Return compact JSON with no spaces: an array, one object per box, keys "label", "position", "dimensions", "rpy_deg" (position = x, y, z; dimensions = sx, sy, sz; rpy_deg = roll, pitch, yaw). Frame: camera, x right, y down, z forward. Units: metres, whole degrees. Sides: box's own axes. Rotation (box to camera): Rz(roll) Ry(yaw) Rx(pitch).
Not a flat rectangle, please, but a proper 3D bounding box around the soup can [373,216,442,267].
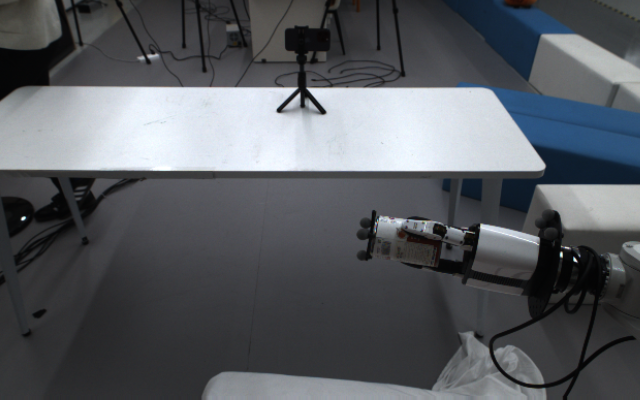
[{"label":"soup can","position":[0.136,0.063,0.746],"dimensions":[0.101,0.067,0.067],"rpy_deg":[8,35,9]}]
